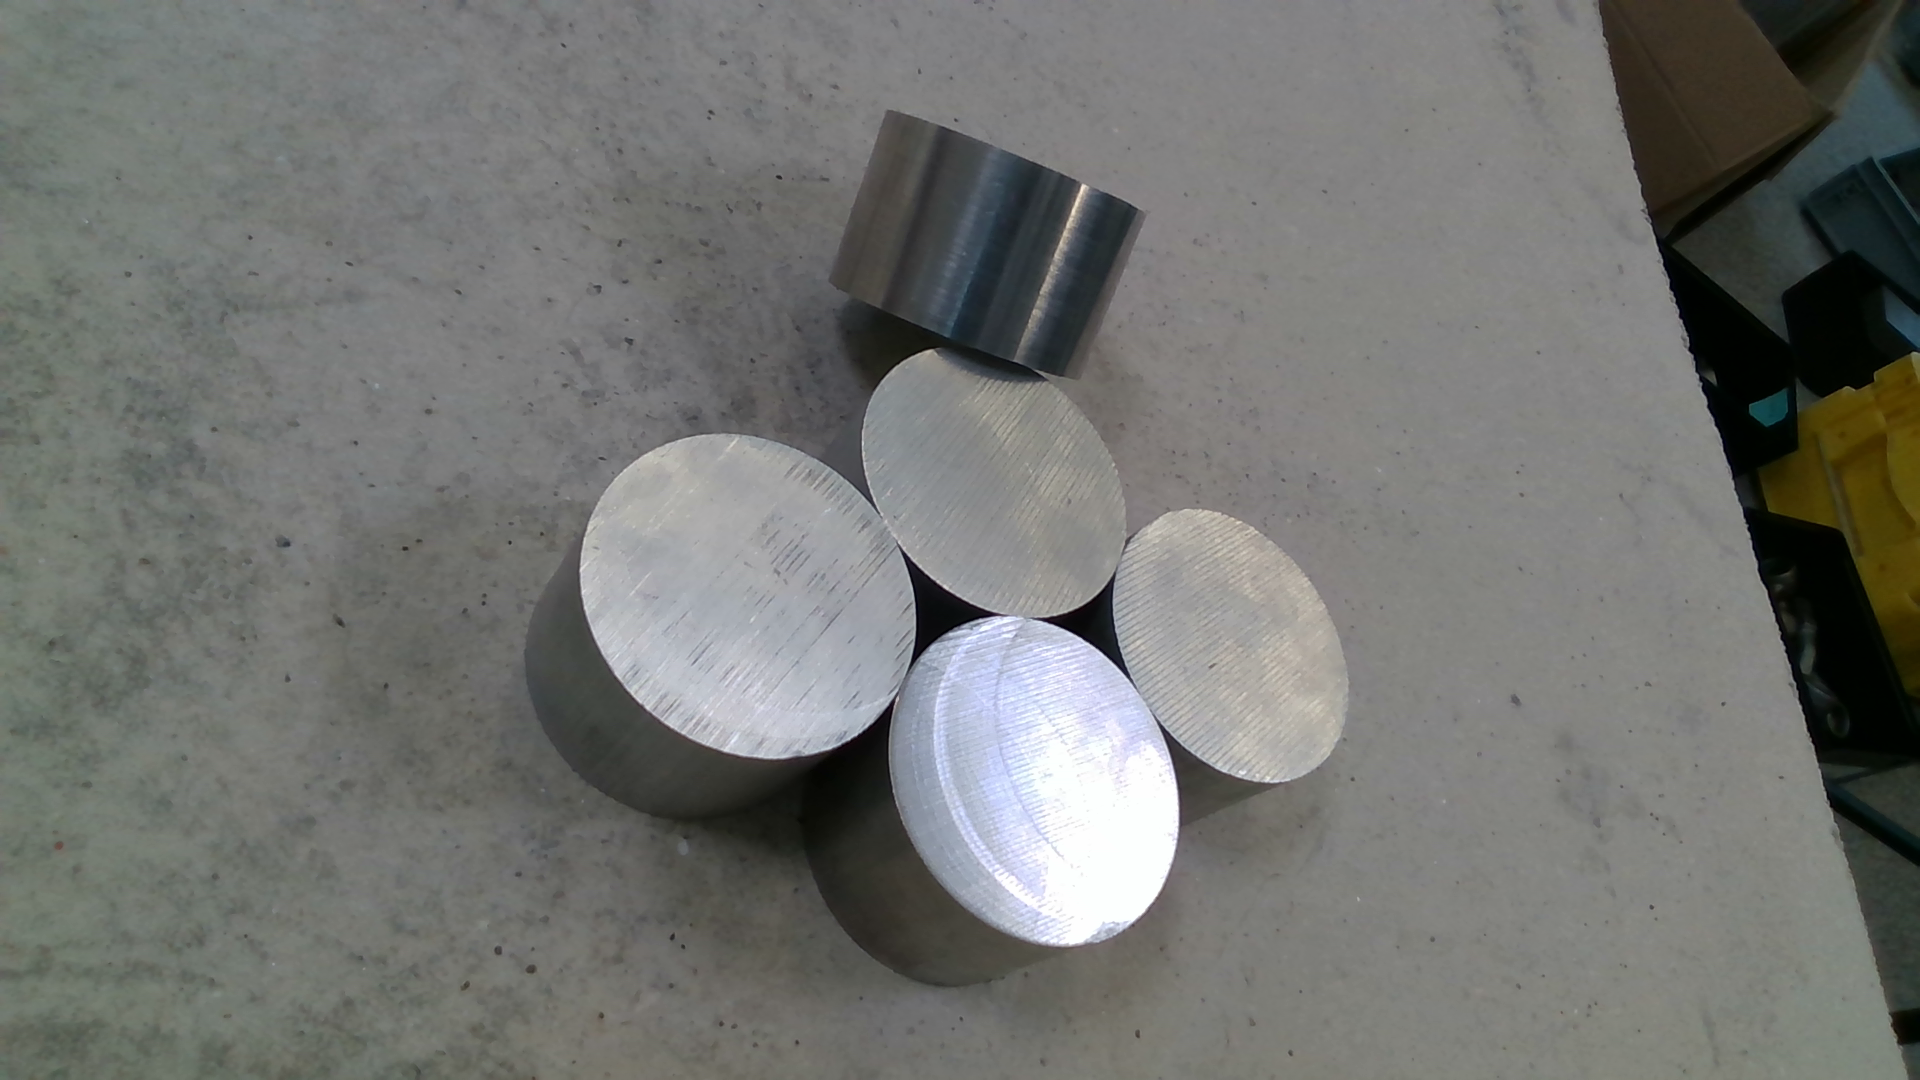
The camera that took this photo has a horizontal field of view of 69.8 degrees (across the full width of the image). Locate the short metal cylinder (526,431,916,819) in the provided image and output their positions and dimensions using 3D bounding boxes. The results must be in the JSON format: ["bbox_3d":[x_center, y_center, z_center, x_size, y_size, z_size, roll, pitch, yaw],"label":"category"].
[{"bbox_3d":[-0.057,0.021,0.331,0.080,0.050,0.080,14,59,-25],"label":"short metal cylinder"}]

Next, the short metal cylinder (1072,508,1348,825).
[{"bbox_3d":[0.063,0.038,0.396,0.080,0.050,0.080,14,59,-25],"label":"short metal cylinder"}]

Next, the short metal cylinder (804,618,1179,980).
[{"bbox_3d":[0.007,0.066,0.346,0.080,0.050,0.080,14,59,-25],"label":"short metal cylinder"}]

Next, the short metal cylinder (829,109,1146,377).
[{"bbox_3d":[0.008,-0.086,0.401,0.080,0.050,0.080,20,12,-5],"label":"short metal cylinder"}]

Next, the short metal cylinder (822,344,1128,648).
[{"bbox_3d":[-0.001,-0.006,0.380,0.080,0.050,0.080,14,59,-25],"label":"short metal cylinder"}]
